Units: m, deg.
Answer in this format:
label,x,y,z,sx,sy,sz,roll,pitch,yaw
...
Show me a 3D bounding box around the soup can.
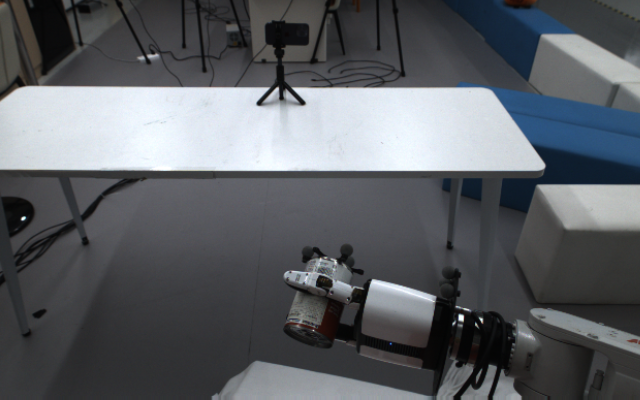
label,x,y,z,sx,sy,sz,roll,pitch,yaw
soup can,0.000,0.133,0.638,0.067,0.067,0.101,12,59,14
